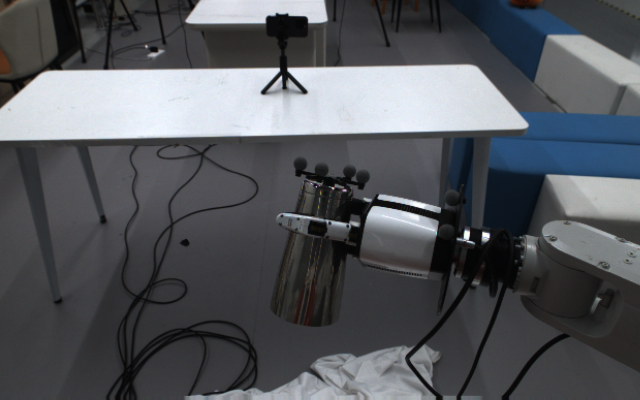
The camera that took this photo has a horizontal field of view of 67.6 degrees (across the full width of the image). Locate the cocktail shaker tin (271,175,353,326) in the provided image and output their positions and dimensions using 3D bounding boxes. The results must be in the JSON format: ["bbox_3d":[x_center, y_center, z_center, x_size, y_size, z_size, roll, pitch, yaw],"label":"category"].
[{"bbox_3d":[-0.001,0.061,0.622,0.093,0.170,0.093,10,9,-2],"label":"cocktail shaker tin"}]
